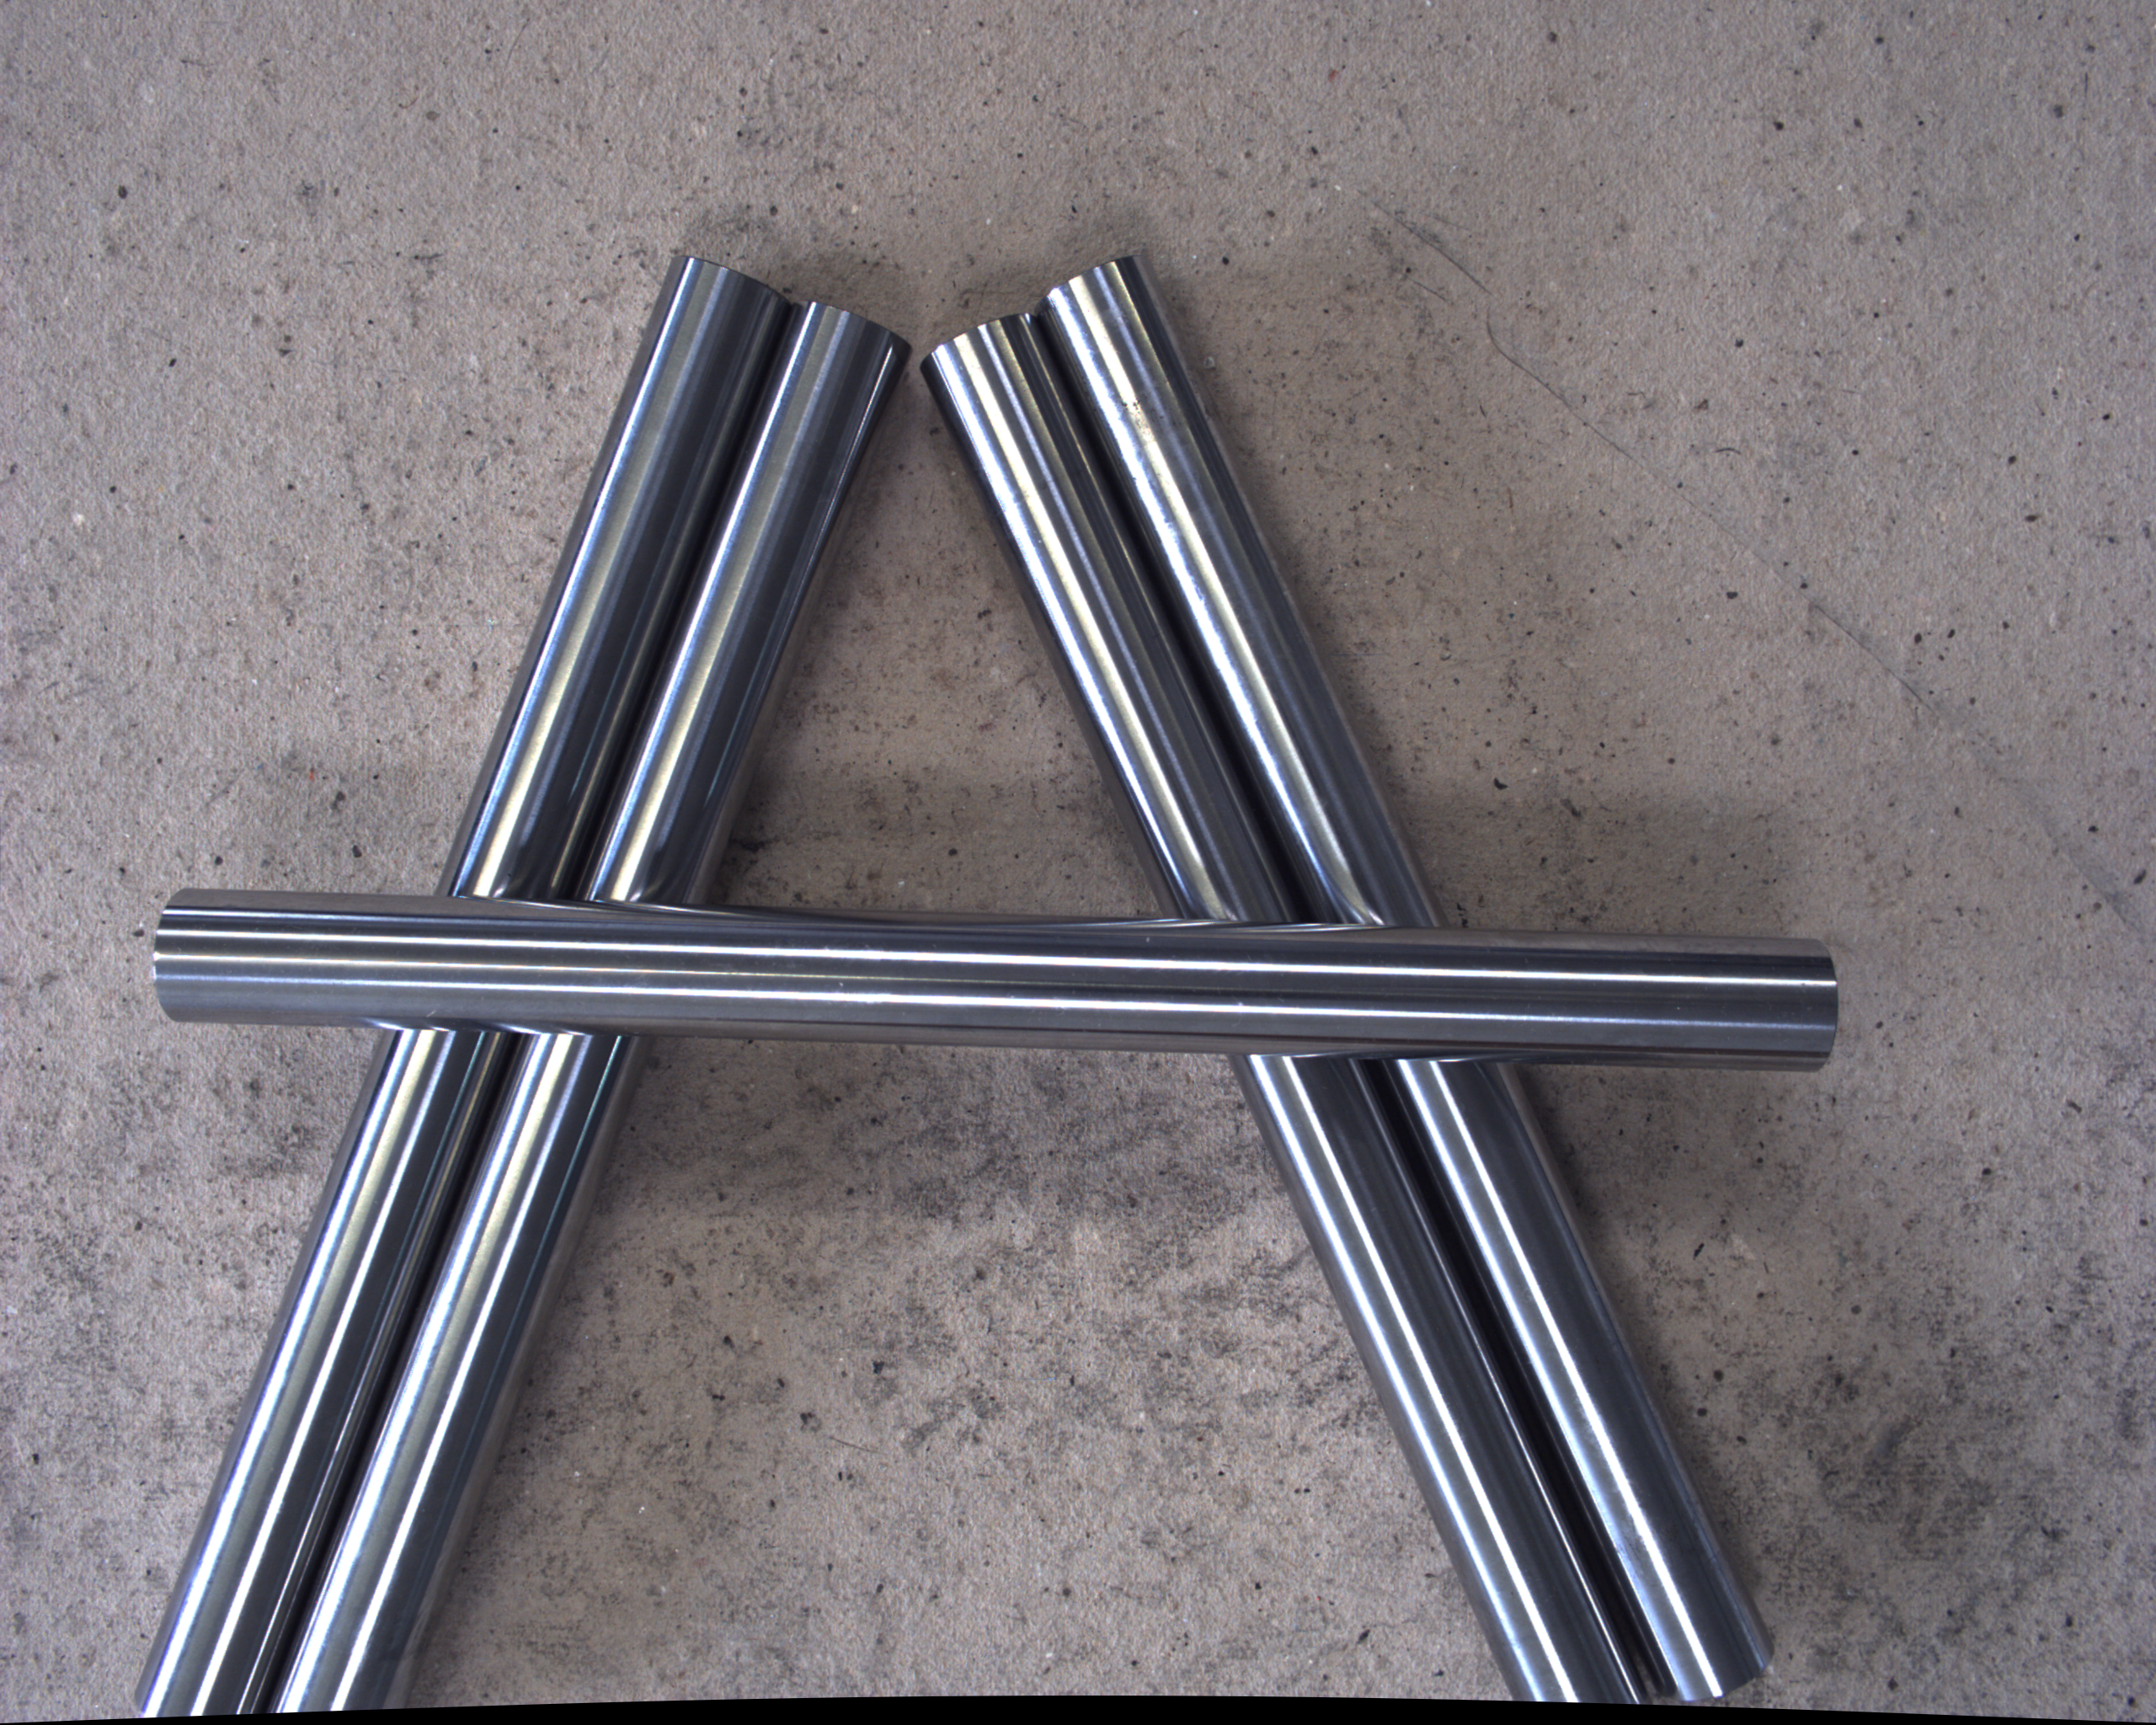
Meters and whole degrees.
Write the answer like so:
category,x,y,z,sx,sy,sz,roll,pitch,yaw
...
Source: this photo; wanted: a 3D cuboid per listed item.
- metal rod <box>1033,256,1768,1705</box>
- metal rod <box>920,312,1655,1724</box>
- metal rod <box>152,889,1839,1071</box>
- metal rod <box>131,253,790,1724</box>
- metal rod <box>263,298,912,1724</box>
category,x,y,z,sx,sy,sz,roll,pitch,yaw
metal rod,0.063,0.023,0.412,0.025,0.025,0.299,-24,90,0
metal rod,0.041,0.034,0.412,0.025,0.025,0.299,-24,90,0
metal rod,-0.014,0.022,0.386,0.302,0.025,0.025,2,90,-1
metal rod,-0.120,0.026,0.410,0.025,0.025,0.299,21,90,0
metal rod,-0.097,0.034,0.410,0.025,0.025,0.299,20,90,0
